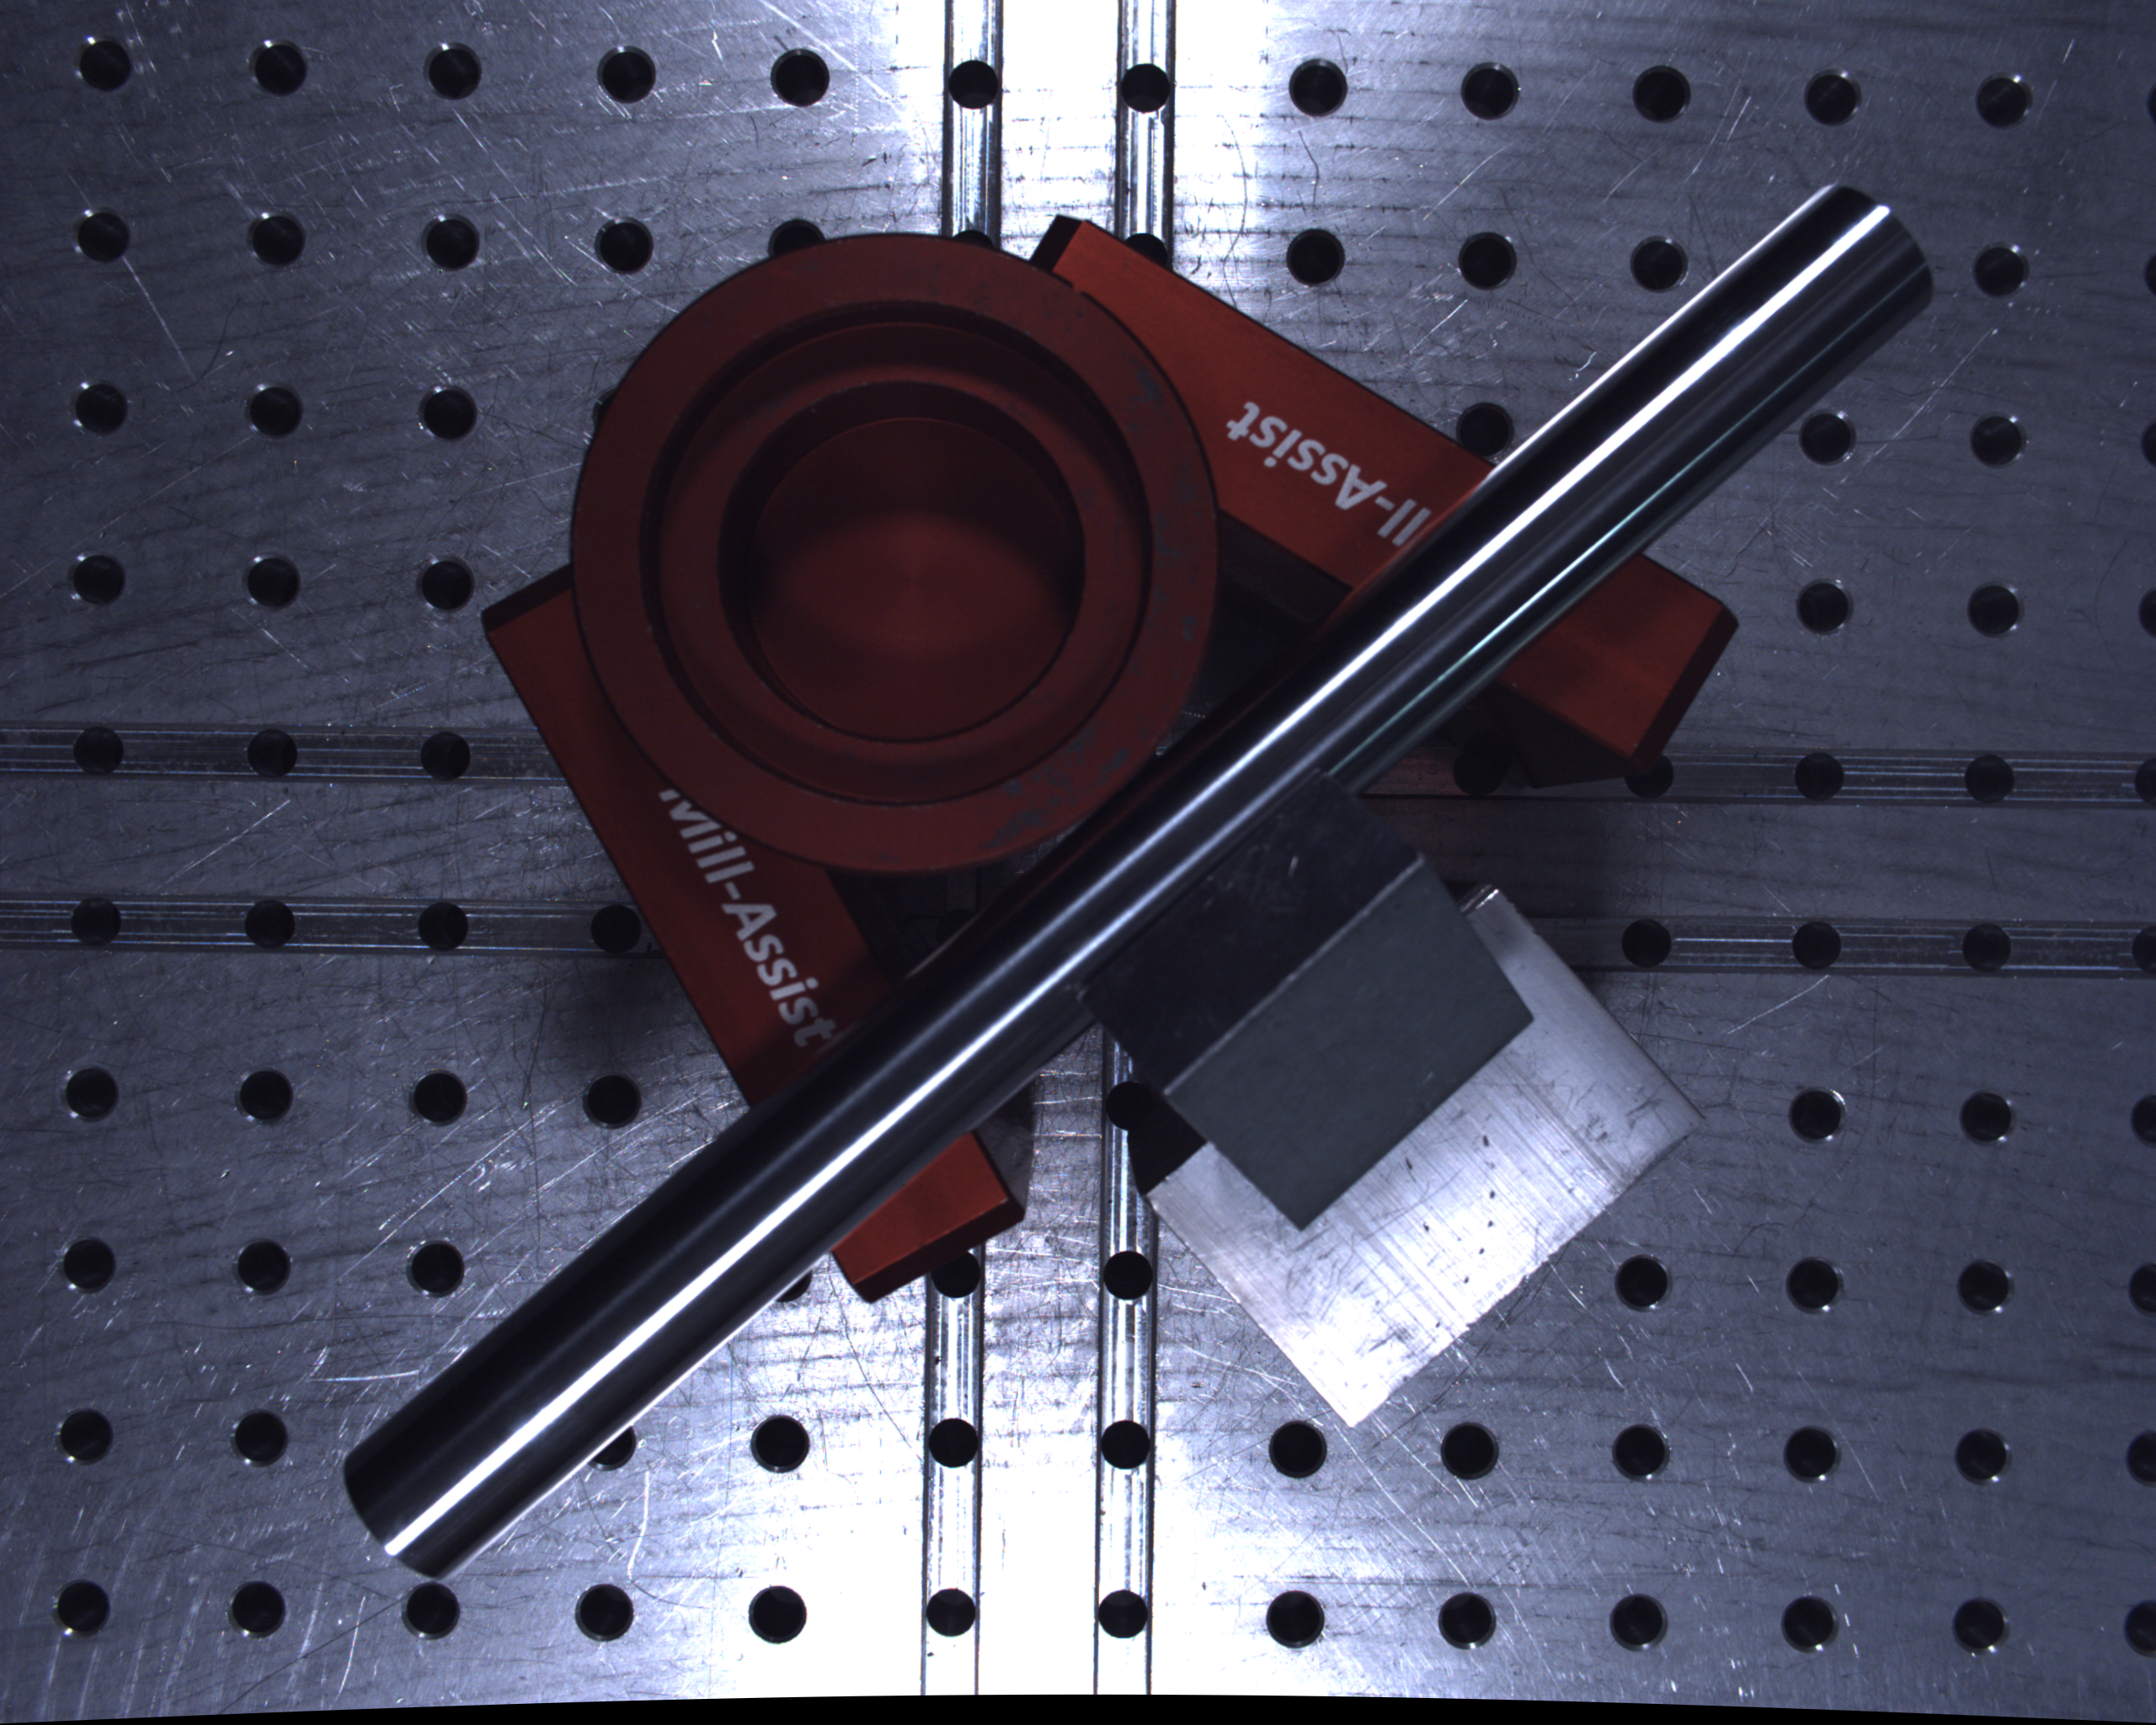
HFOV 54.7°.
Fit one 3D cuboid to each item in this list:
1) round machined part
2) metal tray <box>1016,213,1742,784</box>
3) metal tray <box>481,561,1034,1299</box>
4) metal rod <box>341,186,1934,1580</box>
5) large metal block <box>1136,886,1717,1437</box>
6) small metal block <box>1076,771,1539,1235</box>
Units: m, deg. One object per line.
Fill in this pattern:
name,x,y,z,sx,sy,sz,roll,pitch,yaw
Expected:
round machined part,-0.028,-0.047,0.336,0.099,0.042,0.097,0,90,-1
metal tray,0.046,-0.061,0.380,0.130,0.090,0.030,31,91,-1
metal tray,-0.053,0.008,0.380,0.030,0.090,0.130,-29,90,0
metal rod,0.010,0.003,0.323,0.300,0.025,0.025,-41,91,-1
large metal block,0.058,0.049,0.383,0.080,0.080,0.050,-41,91,0
small metal block,0.036,0.023,0.320,0.050,0.050,0.025,-43,46,0
